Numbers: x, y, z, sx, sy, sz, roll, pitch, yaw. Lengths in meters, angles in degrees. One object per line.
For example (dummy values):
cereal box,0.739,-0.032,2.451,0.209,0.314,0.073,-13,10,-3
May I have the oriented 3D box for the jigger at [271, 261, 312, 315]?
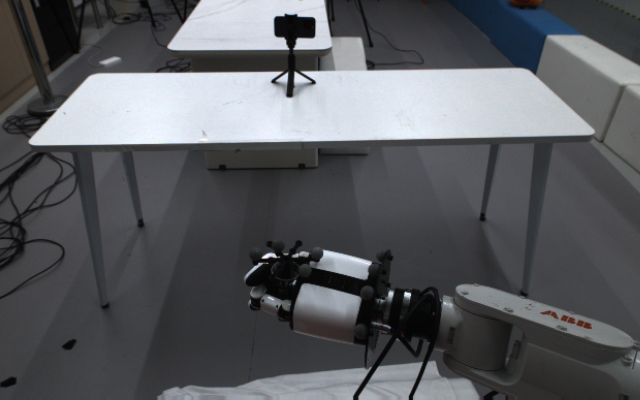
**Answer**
jigger,-0.044,0.121,0.673,0.043,0.071,0.043,4,31,-2
